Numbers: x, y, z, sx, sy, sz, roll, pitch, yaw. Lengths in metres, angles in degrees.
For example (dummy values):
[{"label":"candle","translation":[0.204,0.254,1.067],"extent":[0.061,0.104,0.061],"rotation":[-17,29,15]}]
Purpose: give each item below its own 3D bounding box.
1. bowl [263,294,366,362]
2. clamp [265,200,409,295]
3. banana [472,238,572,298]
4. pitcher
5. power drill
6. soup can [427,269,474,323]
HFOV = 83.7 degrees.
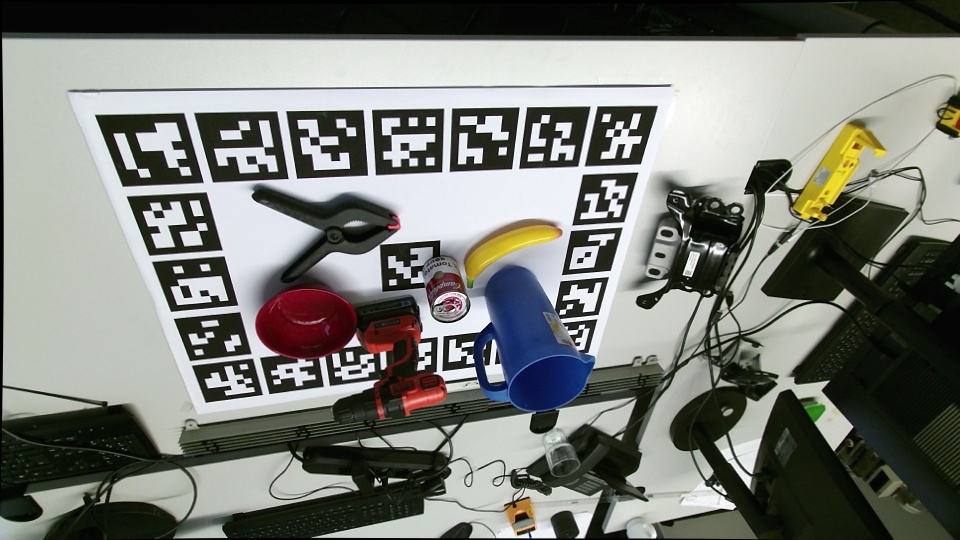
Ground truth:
[{"label":"bowl","translation":[-0.278,0.096,0.906],"extent":[0.162,0.055,0.161],"rotation":[-8,126,-12]},{"label":"clamp","translation":[-0.211,-0.039,0.830],"extent":[0.203,0.036,0.165],"rotation":[-7,123,-12]},{"label":"banana","translation":[0.066,-0.014,0.944],"extent":[0.198,0.038,0.074],"rotation":[-25,137,4]},{"label":"pitcher","translation":[0.081,0.137,0.927],"extent":[0.189,0.241,0.133],"rotation":[-25,131,1]},{"label":"power drill","translation":[-0.155,0.181,0.899],"extent":[0.185,0.186,0.057],"rotation":[-9,127,-10]},{"label":"soup can","translation":[-0.049,0.056,0.919],"extent":[0.068,0.101,0.068],"rotation":[-10,136,-10]}]
